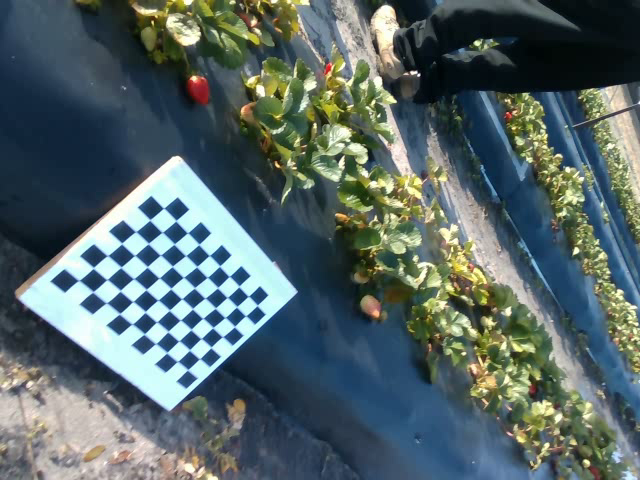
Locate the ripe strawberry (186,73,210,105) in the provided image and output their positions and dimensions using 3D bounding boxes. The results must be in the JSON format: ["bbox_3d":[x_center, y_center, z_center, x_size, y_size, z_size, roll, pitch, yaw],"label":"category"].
[{"bbox_3d":[-0.155,-0.194,0.775,0.030,0.044,0.033,-16,-6,-21],"label":"ripe strawberry"}]
